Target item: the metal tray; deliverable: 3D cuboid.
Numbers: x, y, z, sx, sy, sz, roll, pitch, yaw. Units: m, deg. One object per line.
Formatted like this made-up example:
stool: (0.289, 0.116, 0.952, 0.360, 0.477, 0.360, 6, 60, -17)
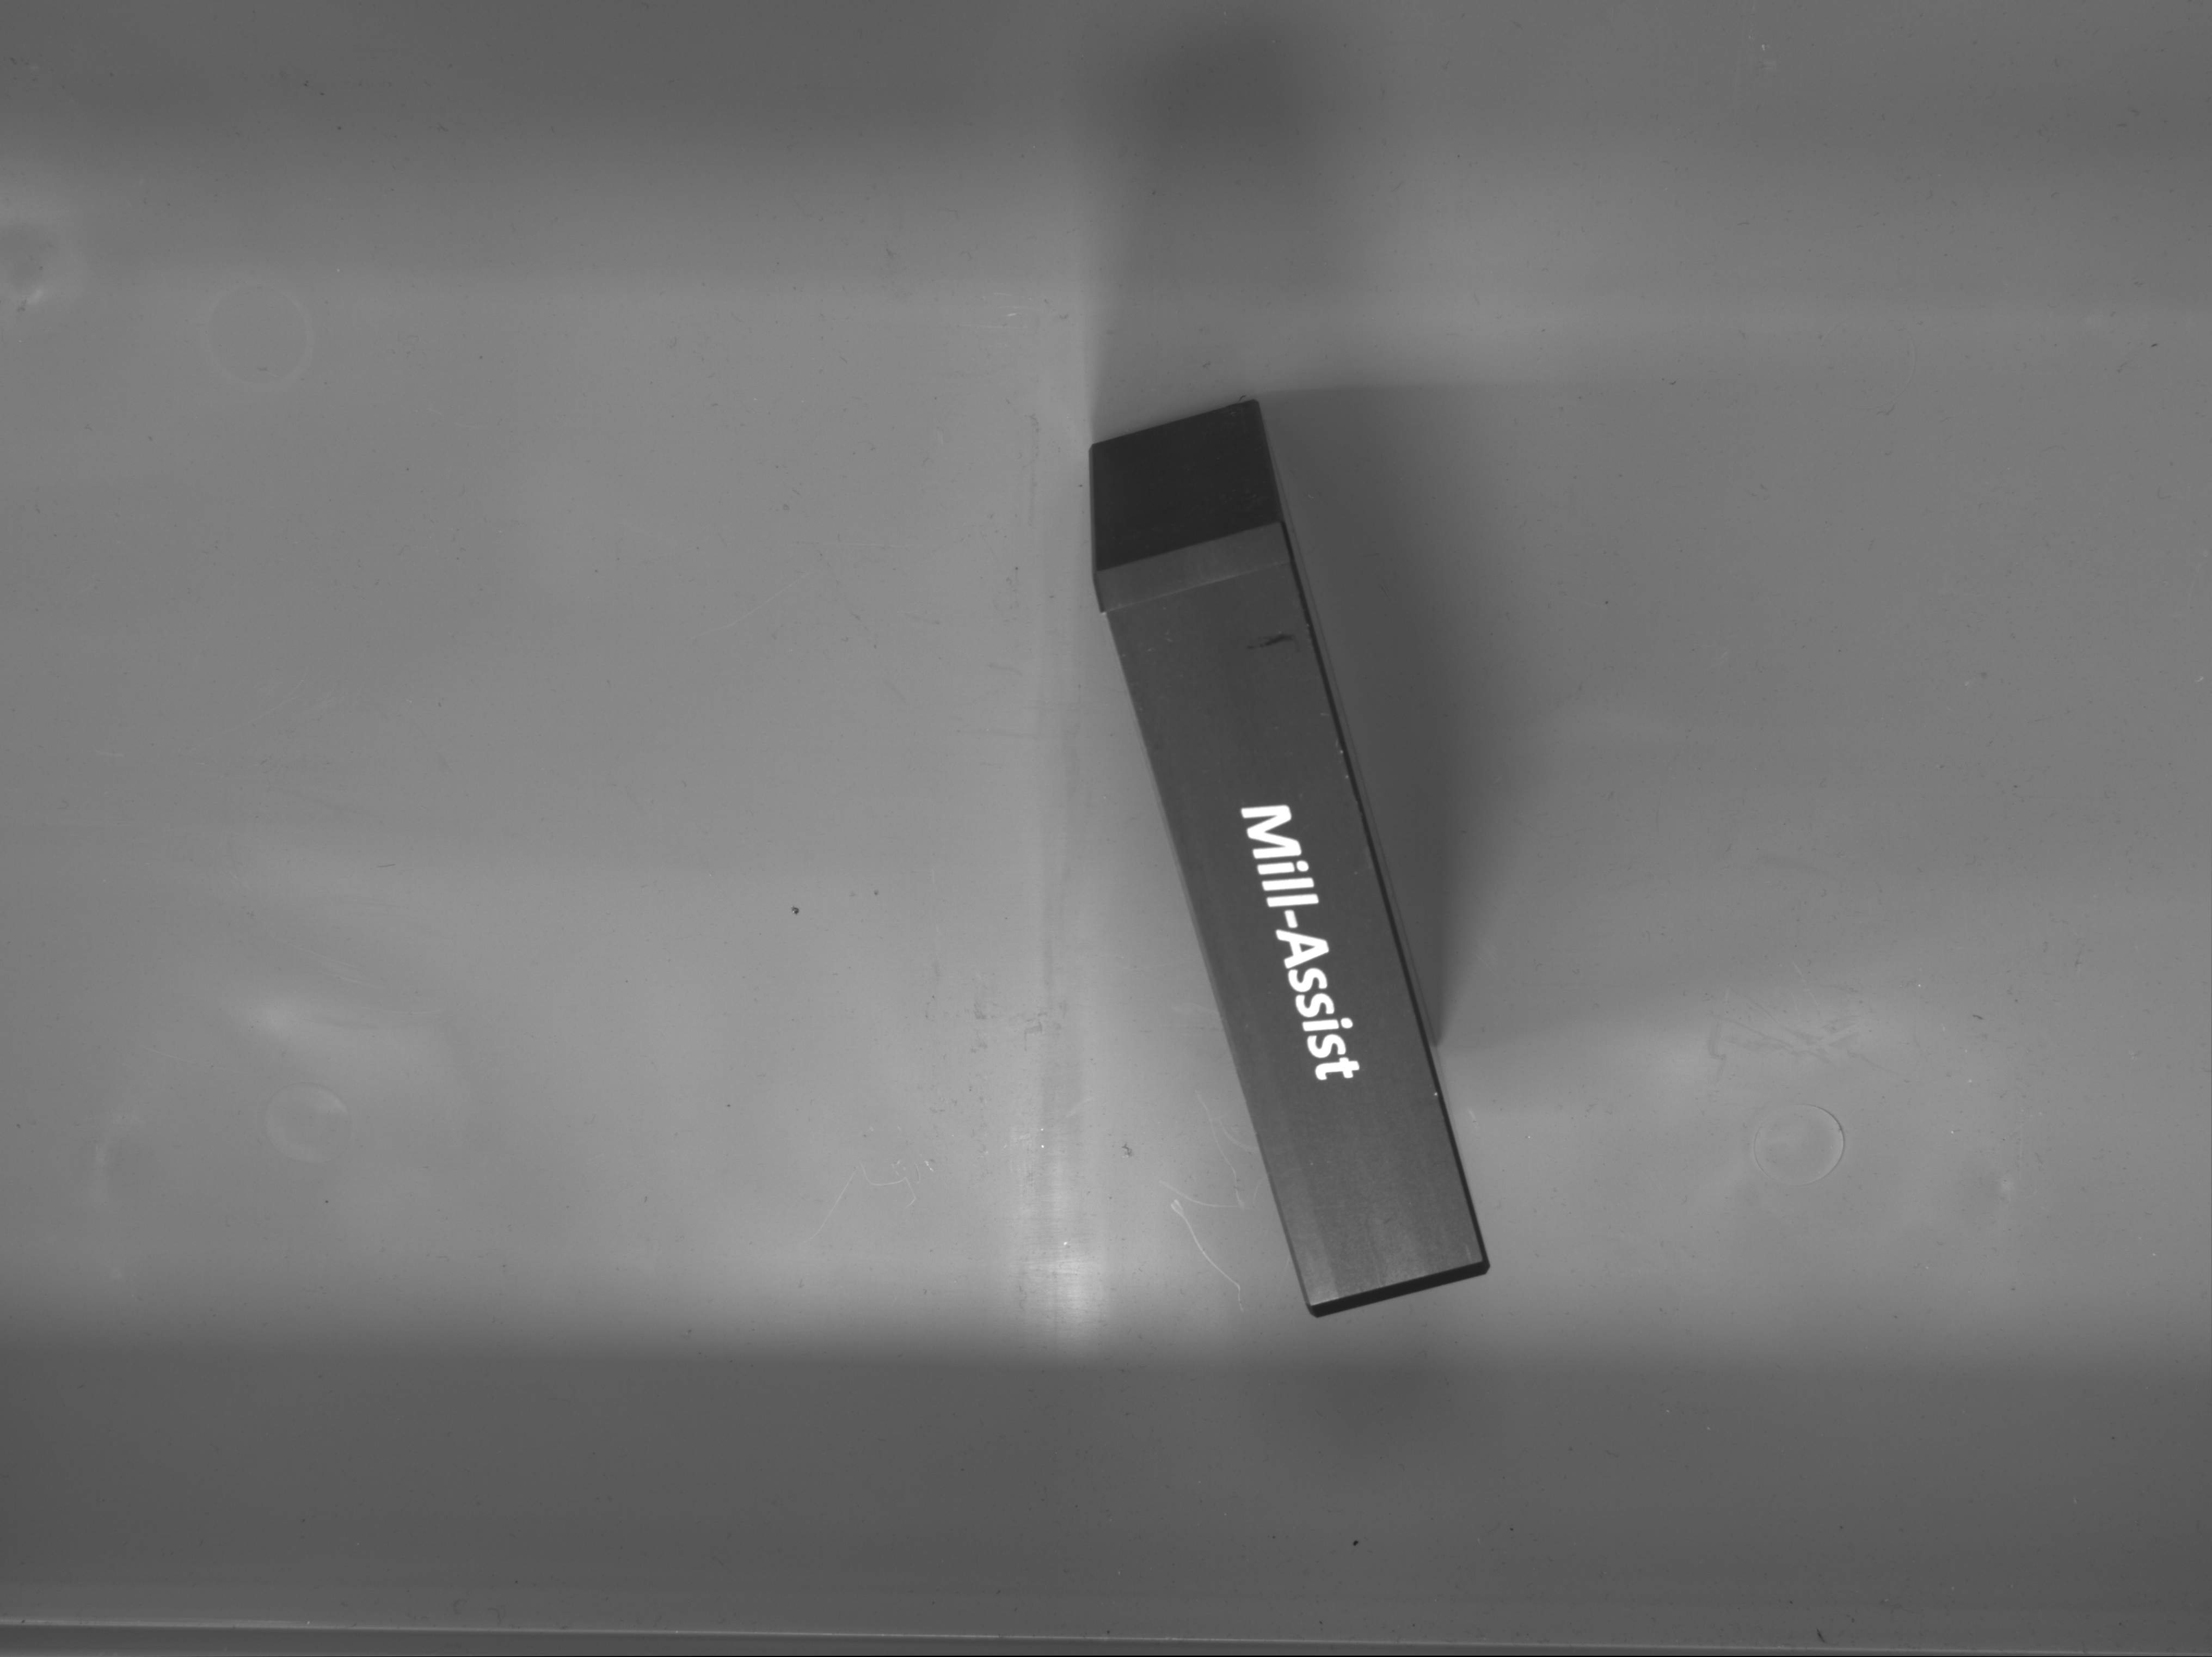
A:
metal tray: (0.029, 0.003, 0.608, 0.030, 0.090, 0.130, -15, 109, 5)
